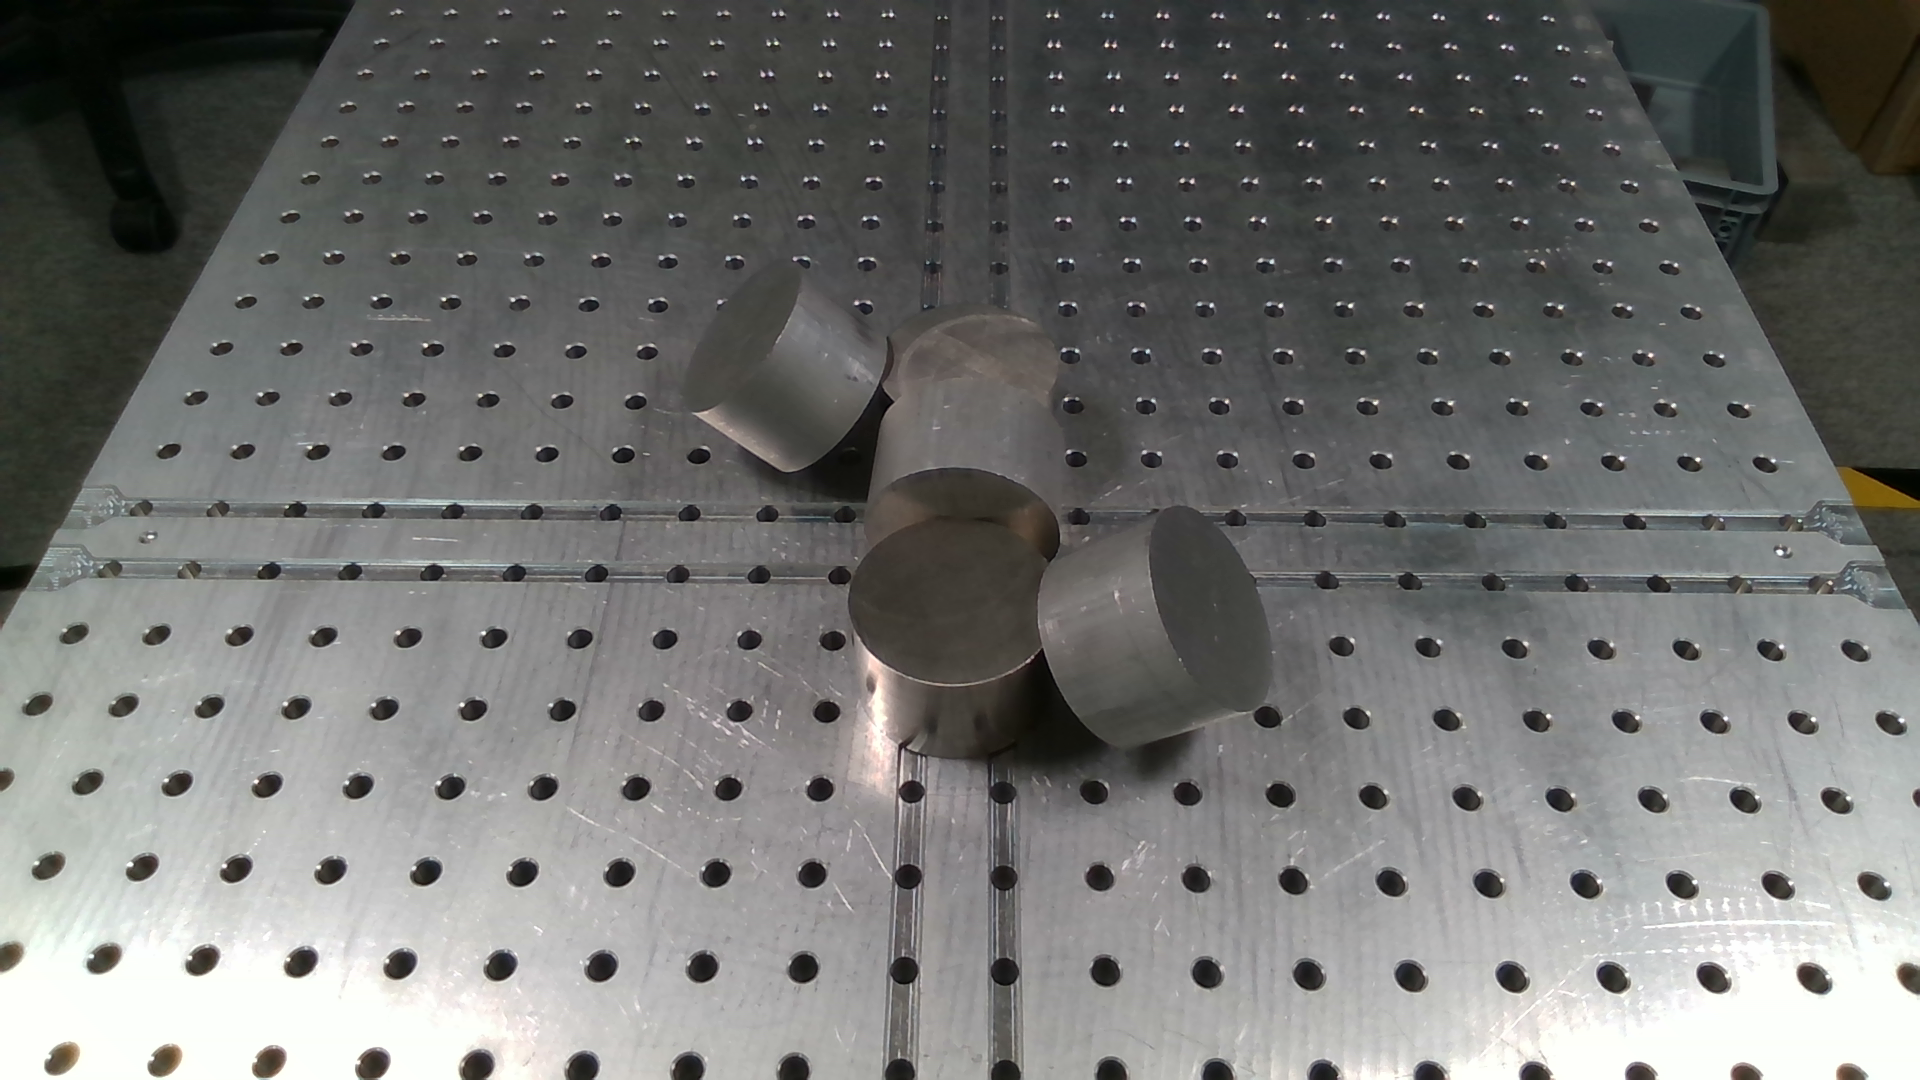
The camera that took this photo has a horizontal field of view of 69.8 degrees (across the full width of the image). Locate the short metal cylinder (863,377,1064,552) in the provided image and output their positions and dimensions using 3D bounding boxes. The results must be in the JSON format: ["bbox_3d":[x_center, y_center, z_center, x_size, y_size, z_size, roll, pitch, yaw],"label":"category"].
[{"bbox_3d":[0.002,-0.021,0.572,0.080,0.080,0.050,4,50,3],"label":"short metal cylinder"}]

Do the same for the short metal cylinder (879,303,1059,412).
[{"bbox_3d":[0.003,-0.062,0.625,0.080,0.050,0.080,0,50,0],"label":"short metal cylinder"}]

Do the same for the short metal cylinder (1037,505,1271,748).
[{"bbox_3d":[0.074,0.033,0.518,0.050,0.080,0.080,-25,39,35],"label":"short metal cylinder"}]

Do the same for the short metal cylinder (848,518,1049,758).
[{"bbox_3d":[-0.002,0.038,0.541,0.080,0.050,0.080,0,50,0],"label":"short metal cylinder"}]

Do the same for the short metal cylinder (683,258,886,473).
[{"bbox_3d":[-0.079,-0.077,0.611,0.080,0.050,0.080,-33,39,31],"label":"short metal cylinder"}]
